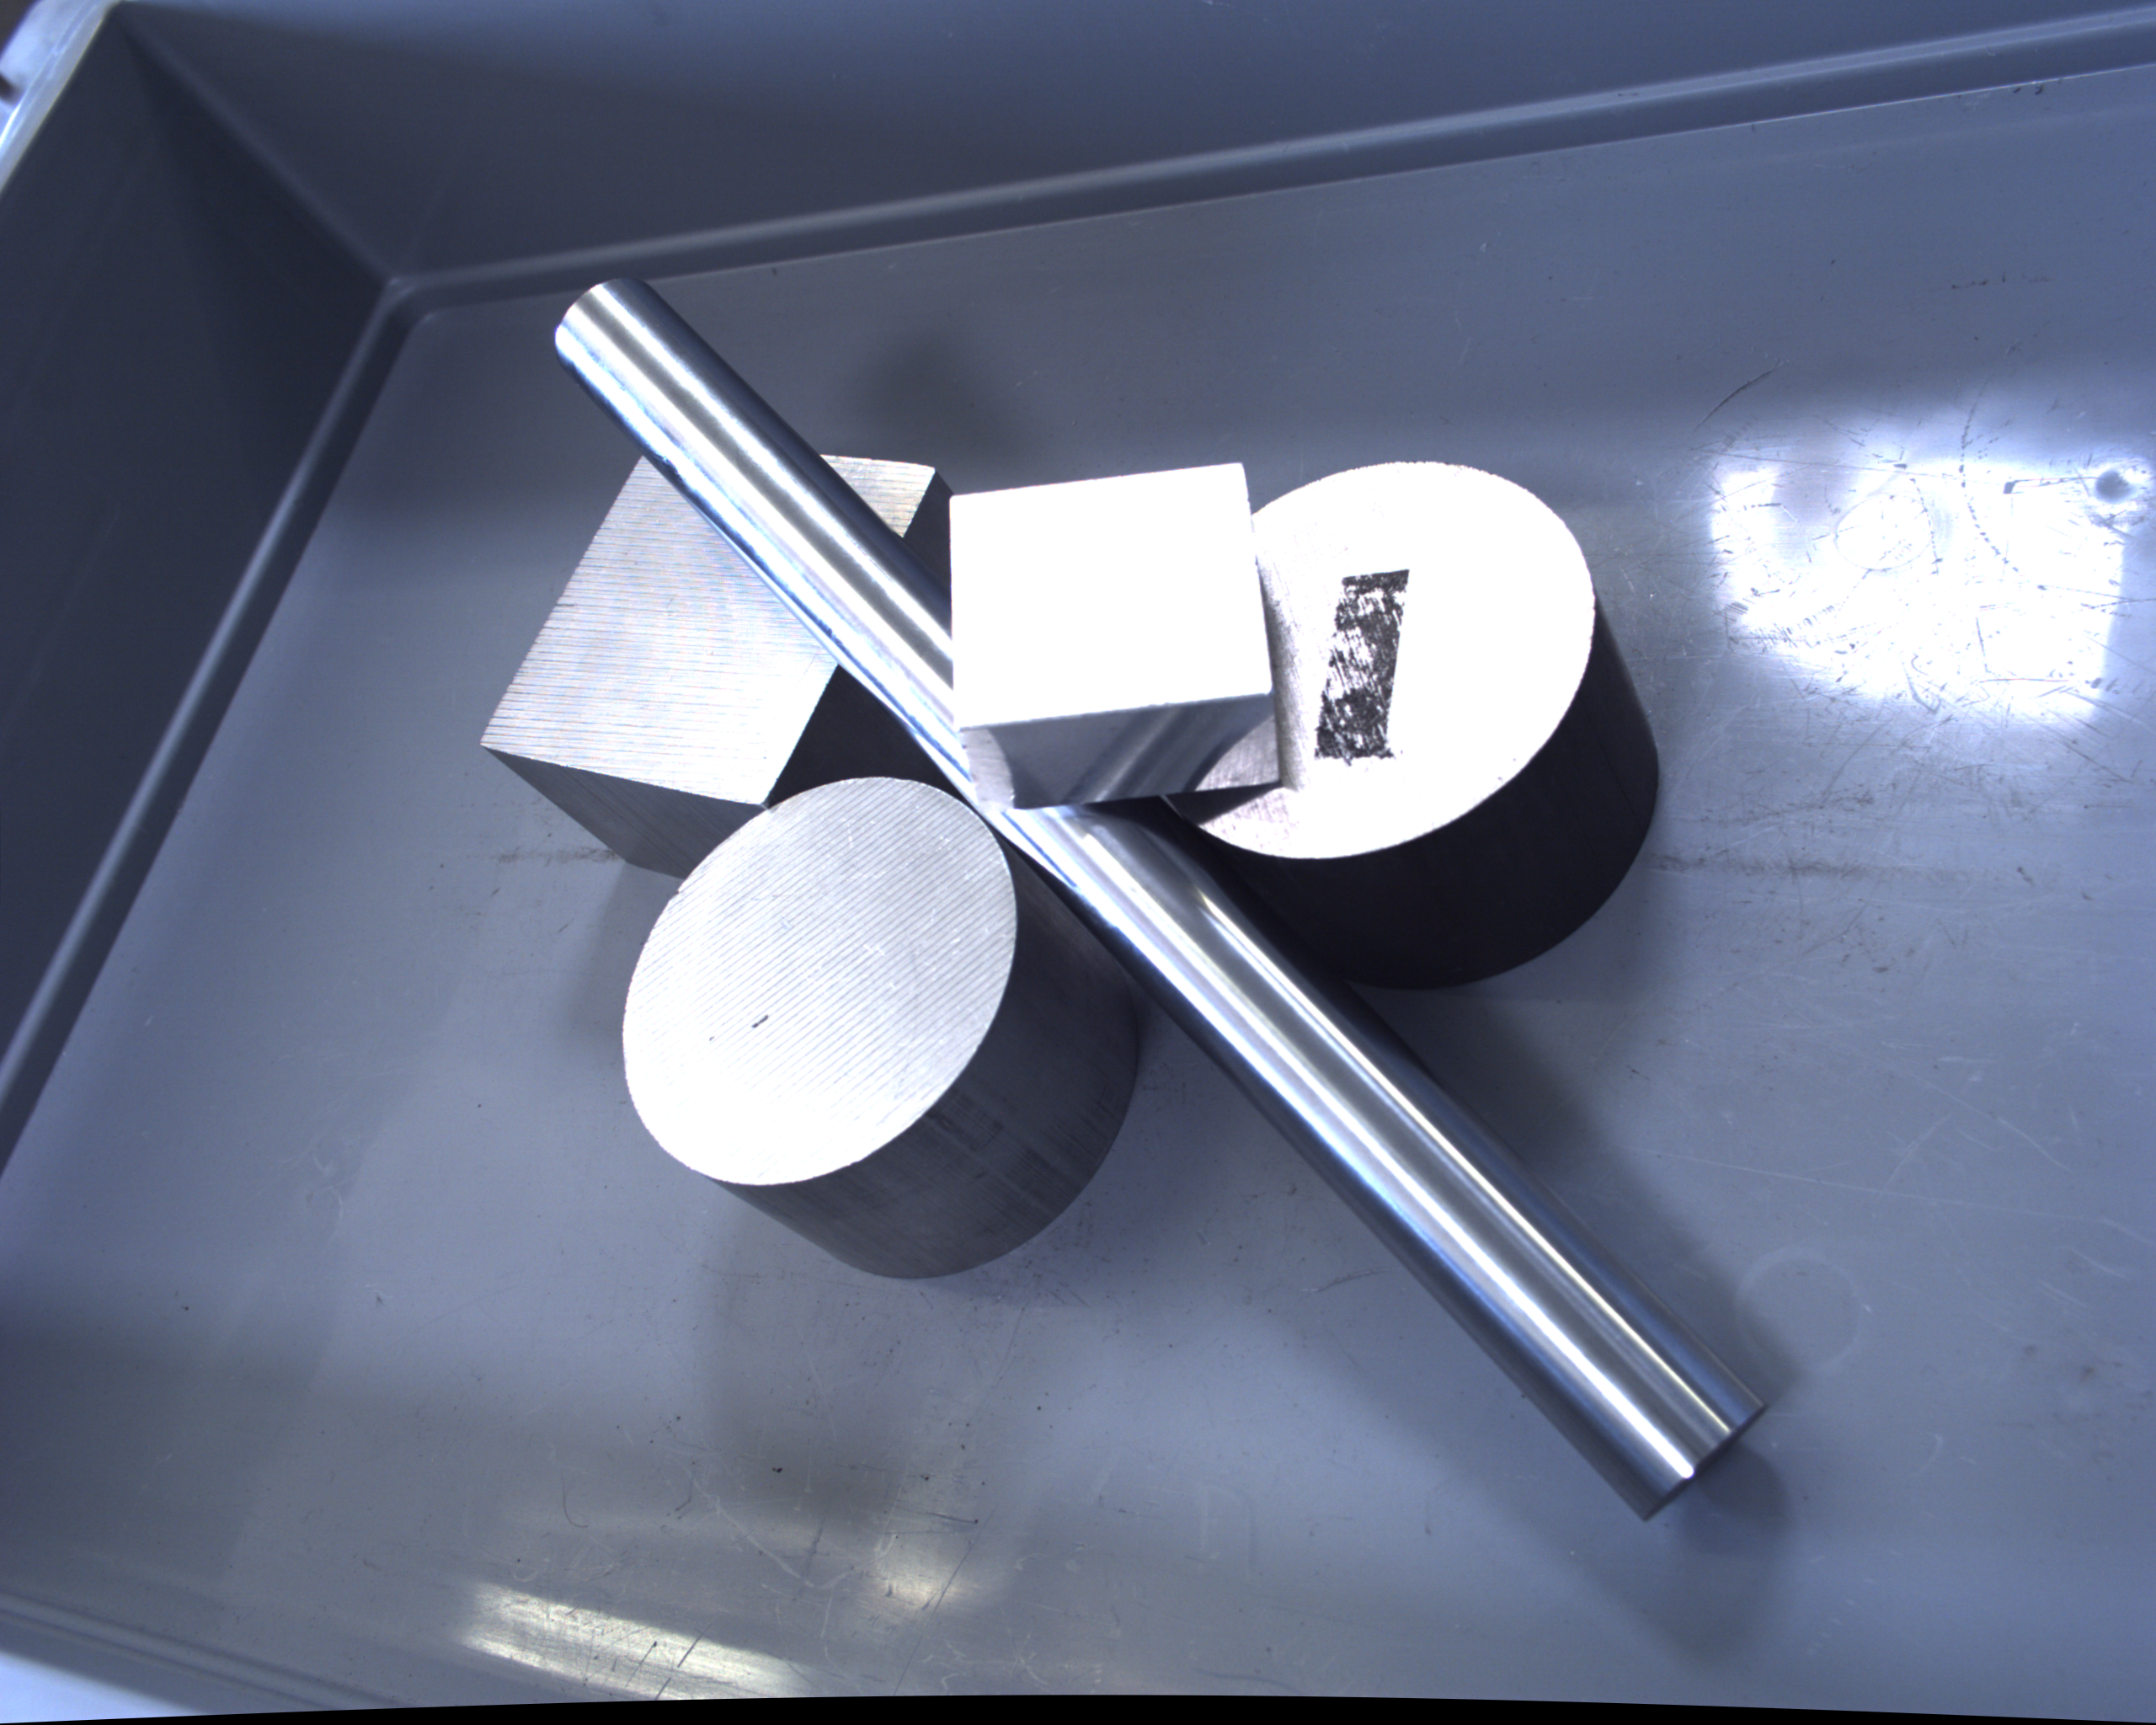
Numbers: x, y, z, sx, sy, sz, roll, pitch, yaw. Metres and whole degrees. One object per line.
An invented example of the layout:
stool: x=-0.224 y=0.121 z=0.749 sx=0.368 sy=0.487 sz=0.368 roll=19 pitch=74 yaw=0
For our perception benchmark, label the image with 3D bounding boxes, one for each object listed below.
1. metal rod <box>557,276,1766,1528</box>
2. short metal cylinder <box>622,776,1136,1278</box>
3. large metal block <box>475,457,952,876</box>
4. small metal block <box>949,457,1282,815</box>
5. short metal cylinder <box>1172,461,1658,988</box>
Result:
metal rod: x=-0.002 y=-0.011 z=0.366 sx=0.025 sy=0.025 sz=0.300 roll=-43 pitch=65 yaw=-1
short metal cylinder: x=-0.036 y=0.031 z=0.388 sx=0.080 sy=0.050 sz=0.080 roll=-13 pitch=56 yaw=21
large metal block: x=-0.066 y=-0.040 z=0.444 sx=0.080 sy=0.050 sz=0.080 roll=12 pitch=68 yaw=33
small metal block: x=0.006 y=-0.038 z=0.351 sx=0.050 sy=0.025 sz=0.050 roll=-7 pitch=57 yaw=4
short metal cylinder: x=0.058 y=-0.024 z=0.372 sx=0.080 sy=0.050 sz=0.080 roll=-13 pitch=56 yaw=21
